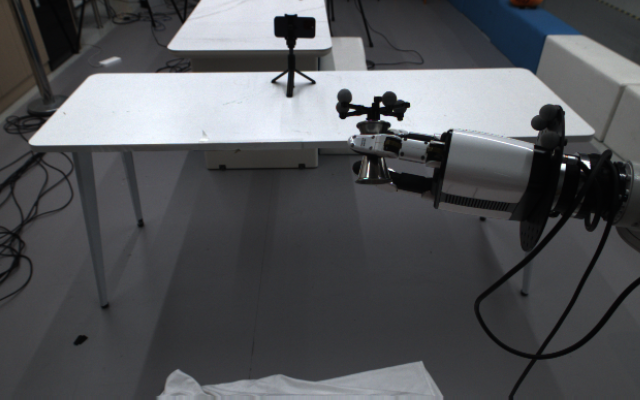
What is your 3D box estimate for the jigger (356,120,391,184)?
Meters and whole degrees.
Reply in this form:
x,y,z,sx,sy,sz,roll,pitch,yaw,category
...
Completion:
x,y,z,sx,sy,sz,roll,pitch,yaw,category
0.061,-0.055,0.563,0.043,0.071,0.043,1,-5,0,jigger
